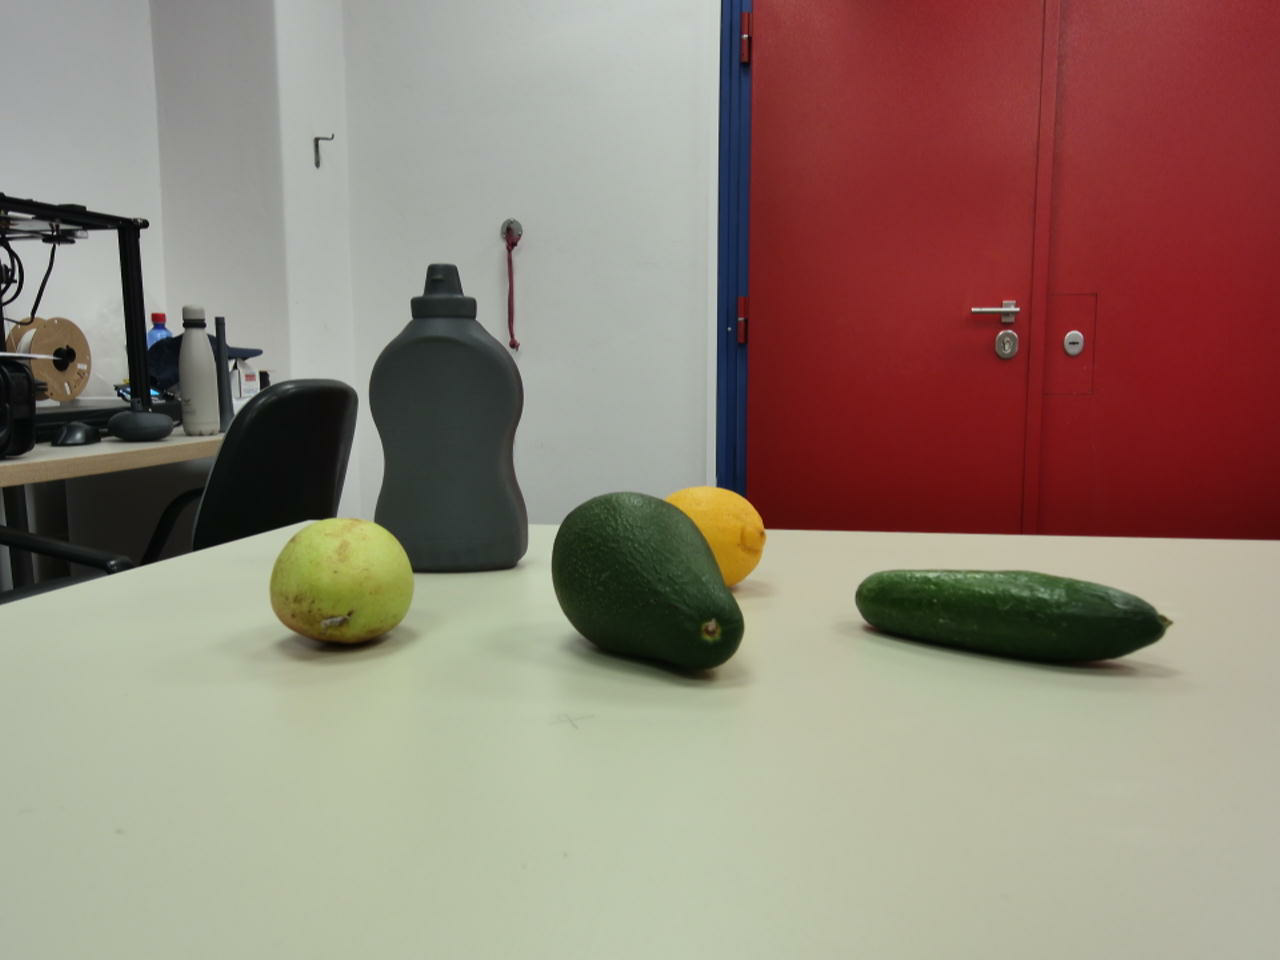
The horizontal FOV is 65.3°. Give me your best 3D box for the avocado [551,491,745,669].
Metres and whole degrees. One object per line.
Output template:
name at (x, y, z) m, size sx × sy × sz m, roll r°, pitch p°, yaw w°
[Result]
avocado at (-0.001, 0.042, 0.434) m, size 0.072 × 0.071 × 0.109 m, roll -1°, pitch 4°, yaw -10°
